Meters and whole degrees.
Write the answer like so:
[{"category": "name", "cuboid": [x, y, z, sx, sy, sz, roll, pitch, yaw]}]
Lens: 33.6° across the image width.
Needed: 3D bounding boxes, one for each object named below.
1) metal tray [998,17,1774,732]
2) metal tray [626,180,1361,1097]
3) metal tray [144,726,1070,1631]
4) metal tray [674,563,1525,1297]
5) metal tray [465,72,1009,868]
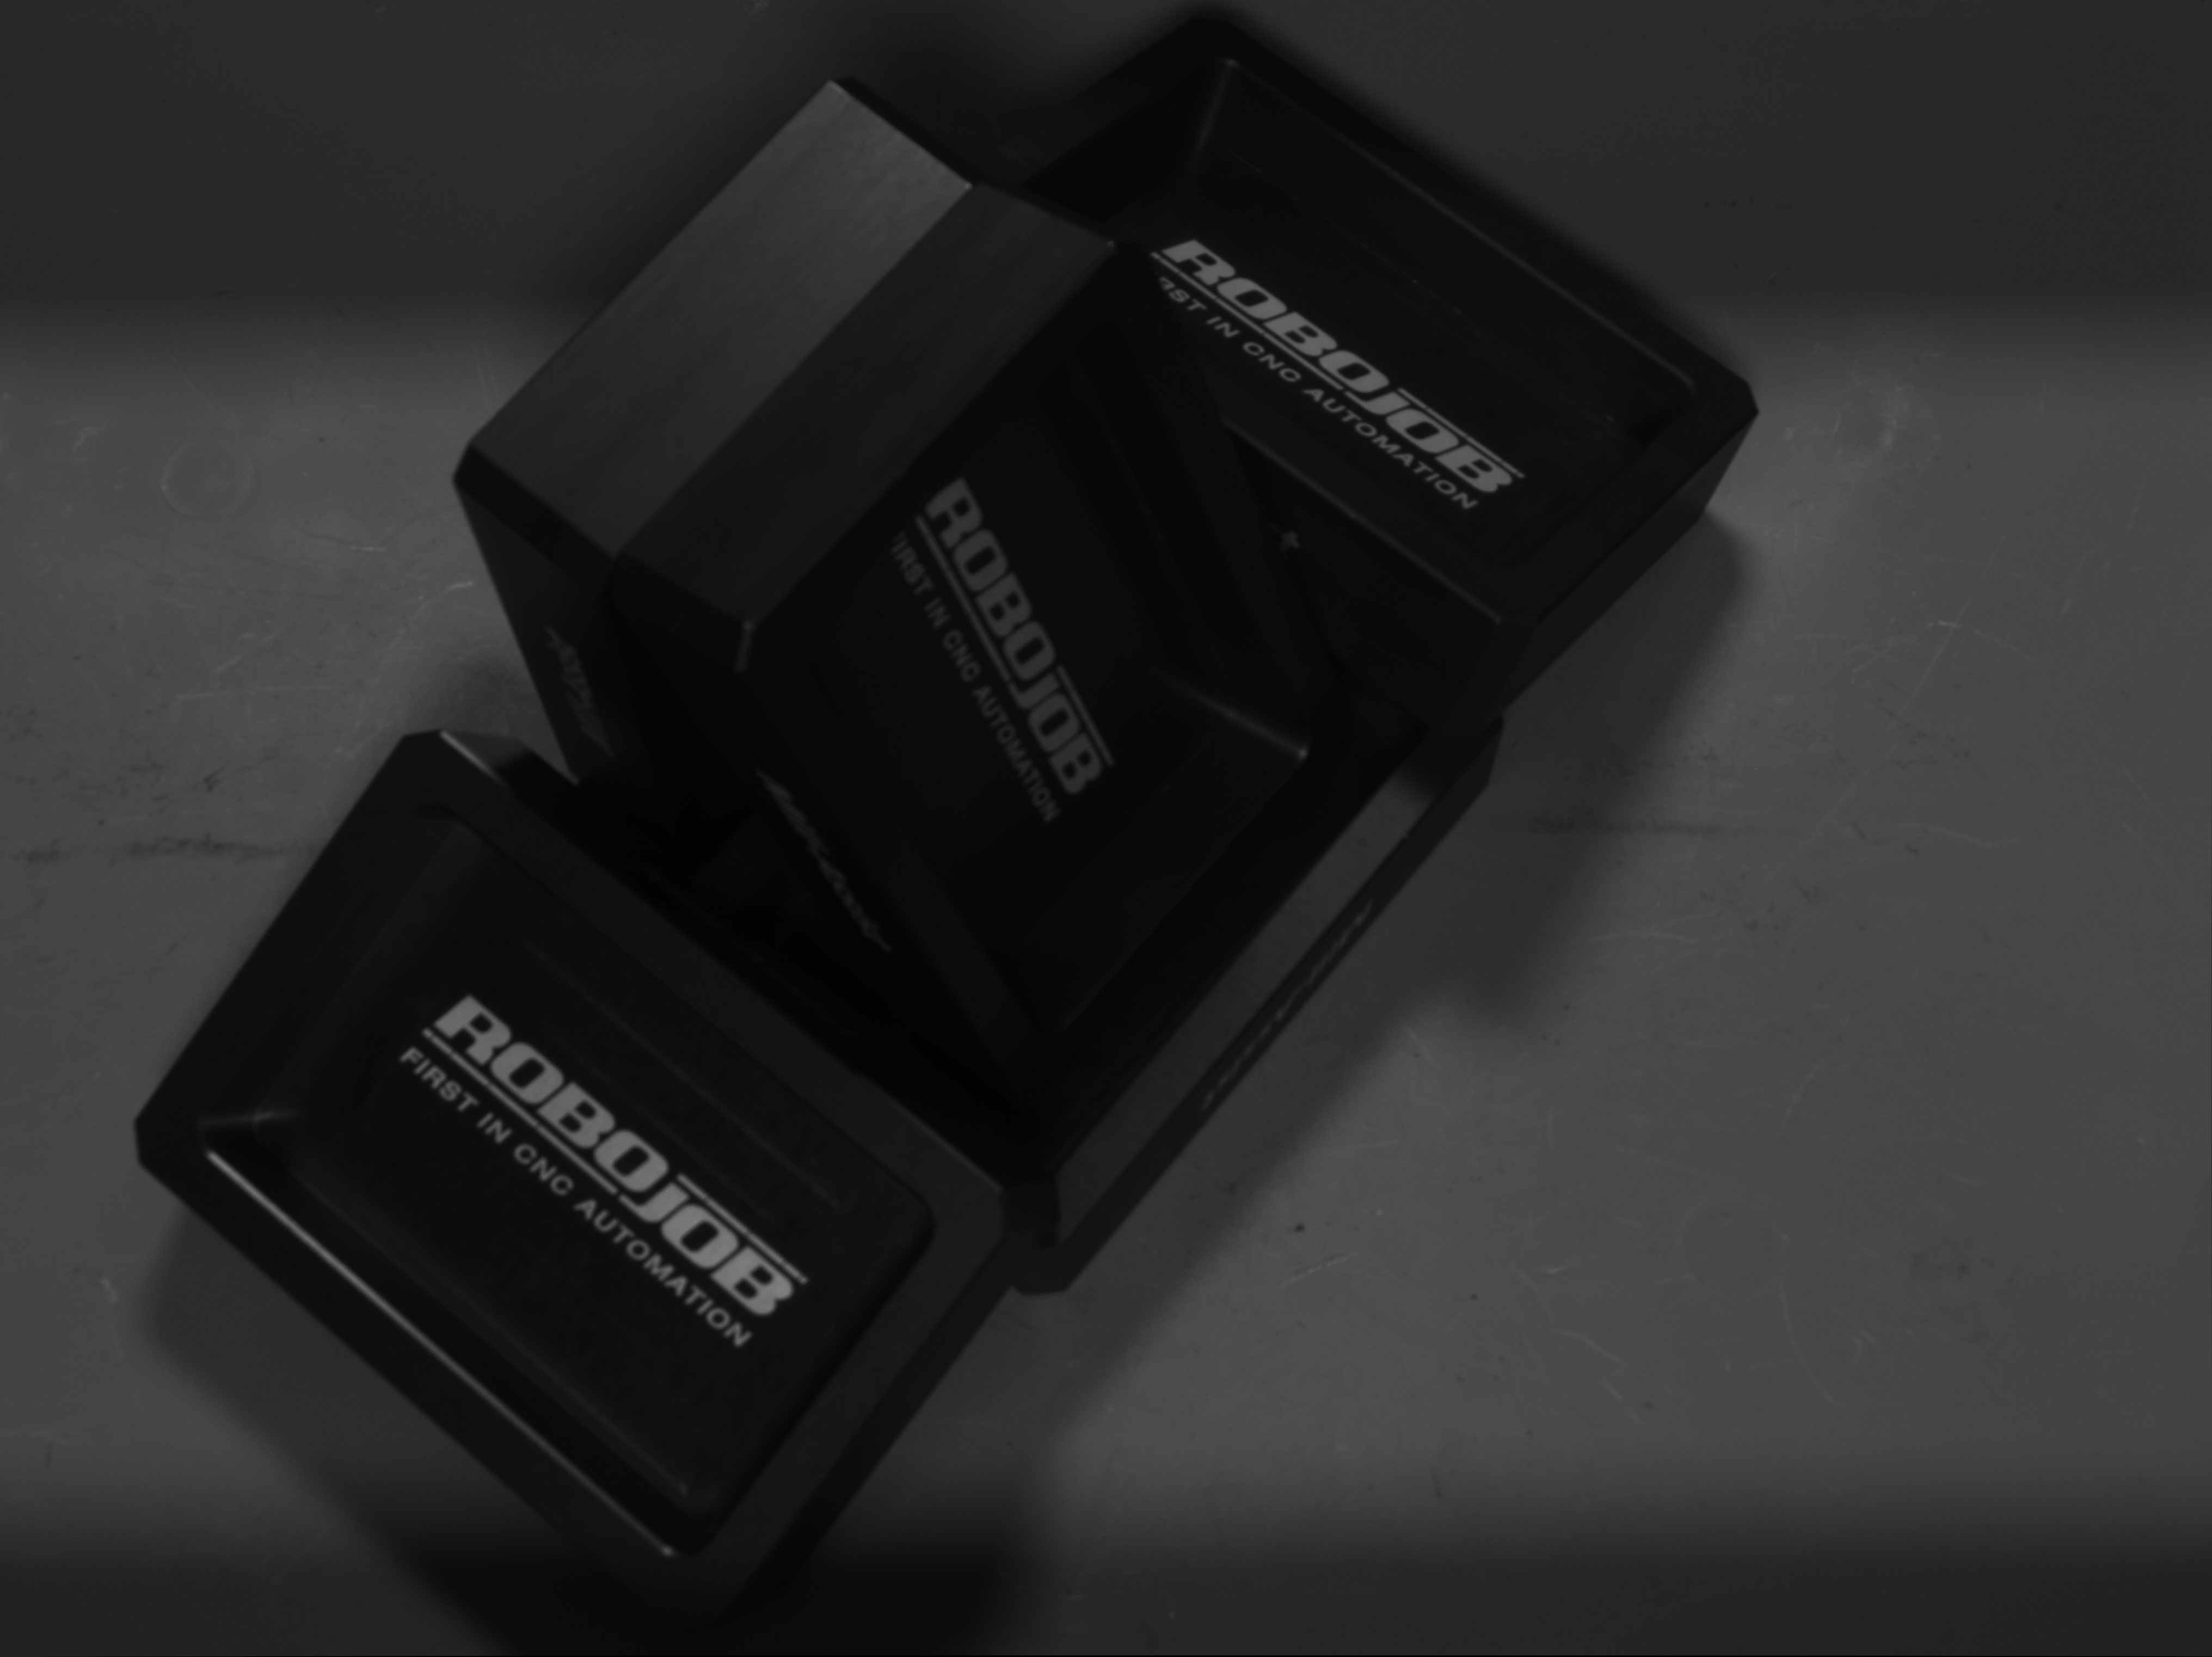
[{"category": "metal tray", "cuboid": [0.043, -0.084, 0.653, 0.130, 0.030, 0.090, 37, 49, 13]}, {"category": "metal tray", "cuboid": [-0.013, -0.027, 0.585, 0.030, 0.130, 0.090, 31, 71, 35]}, {"category": "metal tray", "cuboid": [-0.083, 0.056, 0.602, 0.130, 0.030, 0.090, 38, 98, 13]}, {"category": "metal tray", "cuboid": [0.000, 0.004, 0.639, 0.090, 0.030, 0.130, 37, 74, 13]}, {"category": "metal tray", "cuboid": [-0.054, -0.055, 0.607, 0.030, 0.130, 0.090, 38, 74, 14]}]
